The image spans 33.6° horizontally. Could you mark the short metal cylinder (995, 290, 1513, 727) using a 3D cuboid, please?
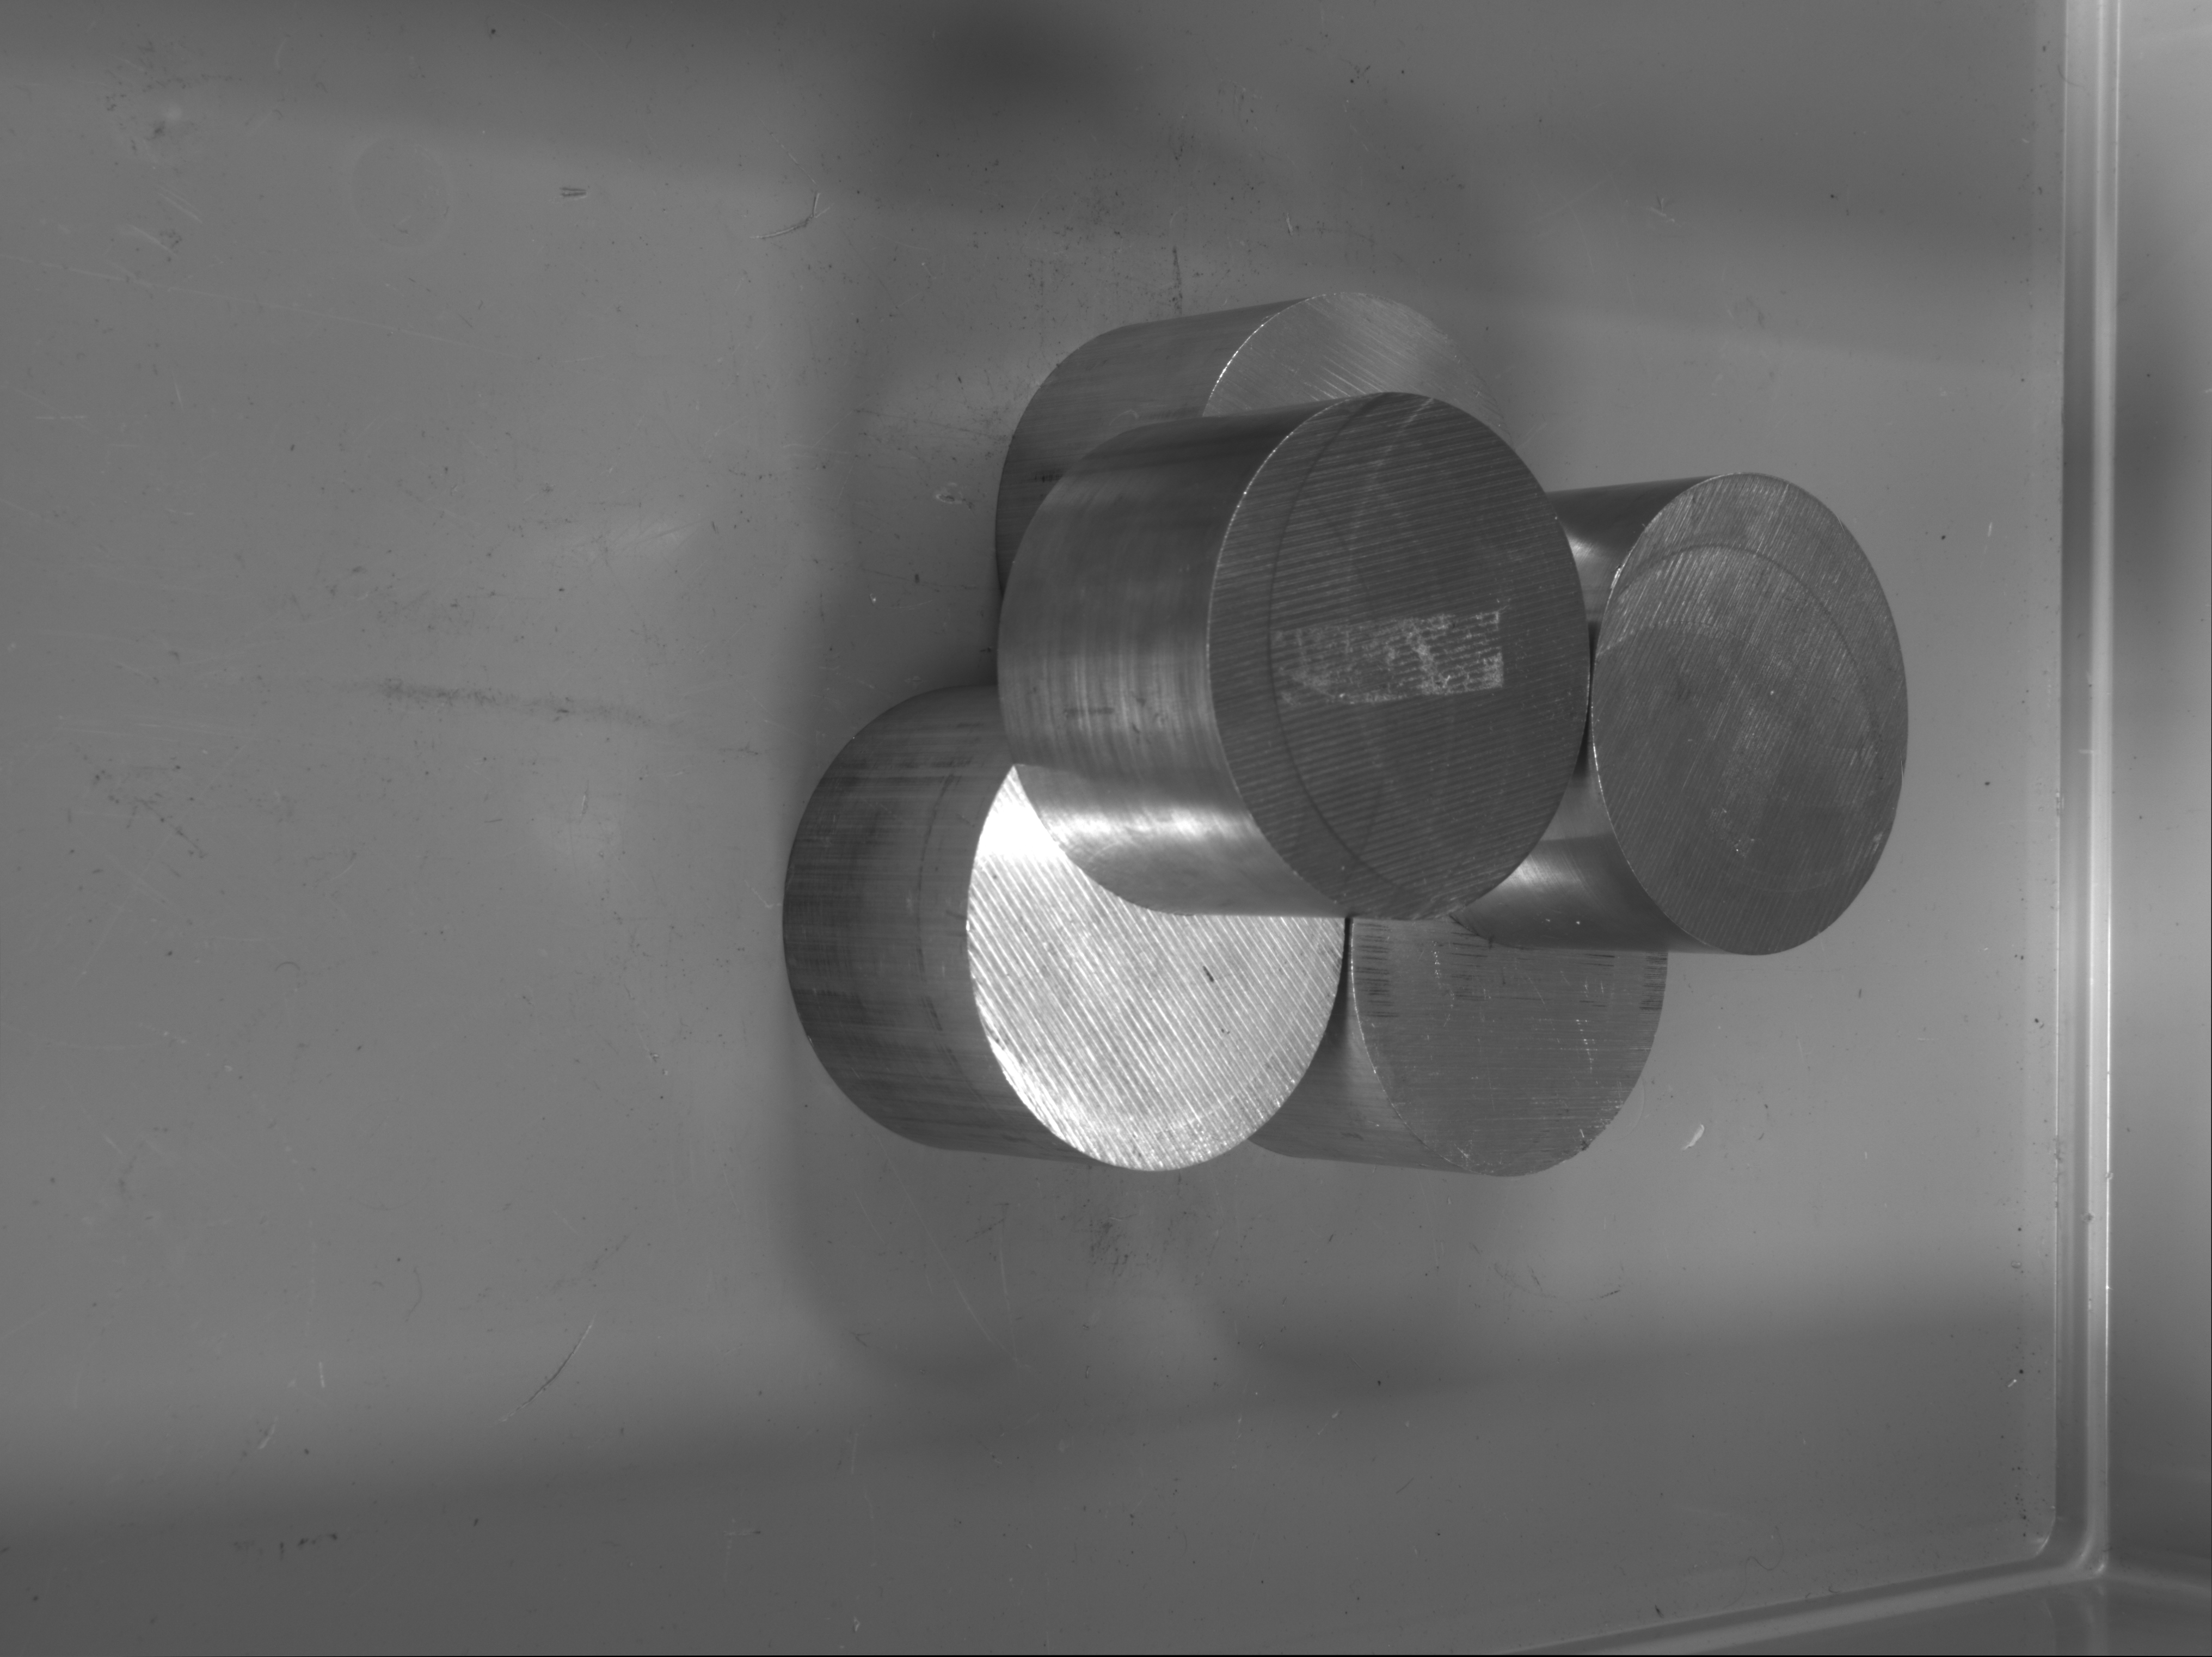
[{"bbox_3d":[0.028,-0.051,0.641,0.080,0.050,0.080,0,90,-40],"label":"short metal cylinder"}]

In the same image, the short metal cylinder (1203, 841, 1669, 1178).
[{"bbox_3d":[0.056,0.021,0.664,0.080,0.050,0.080,0,90,-40],"label":"short metal cylinder"}]

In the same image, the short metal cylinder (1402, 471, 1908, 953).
[{"bbox_3d":[0.092,-0.019,0.629,0.080,0.050,0.080,0,90,-40],"label":"short metal cylinder"}]

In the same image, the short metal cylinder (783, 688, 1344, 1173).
[{"bbox_3d":[-0.007,0.016,0.612,0.080,0.050,0.080,0,90,-40],"label":"short metal cylinder"}]

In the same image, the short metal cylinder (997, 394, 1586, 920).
[{"bbox_3d":[0.030,-0.026,0.578,0.080,0.050,0.080,0,90,-40],"label":"short metal cylinder"}]
